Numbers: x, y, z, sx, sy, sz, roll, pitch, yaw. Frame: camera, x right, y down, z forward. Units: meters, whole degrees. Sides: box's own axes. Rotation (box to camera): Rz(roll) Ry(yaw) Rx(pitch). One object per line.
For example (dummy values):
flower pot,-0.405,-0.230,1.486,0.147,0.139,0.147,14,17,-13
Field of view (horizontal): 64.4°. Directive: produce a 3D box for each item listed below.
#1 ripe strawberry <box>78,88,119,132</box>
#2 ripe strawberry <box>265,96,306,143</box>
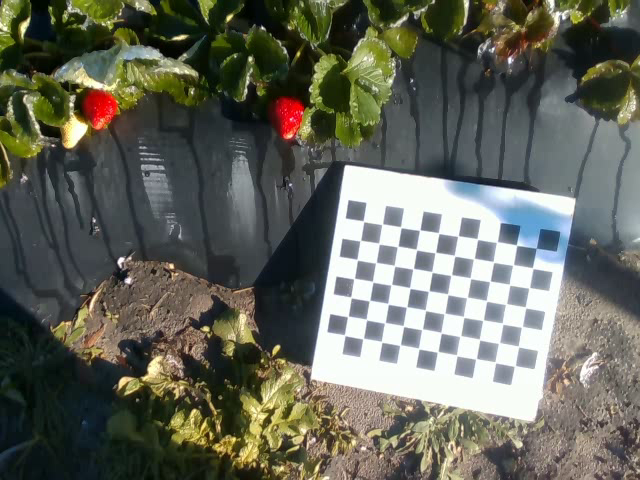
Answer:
ripe strawberry,-0.230,-0.131,0.518,0.037,0.040,0.051,-5,43,5
ripe strawberry,-0.034,-0.120,0.503,0.041,0.053,0.047,3,-37,4
